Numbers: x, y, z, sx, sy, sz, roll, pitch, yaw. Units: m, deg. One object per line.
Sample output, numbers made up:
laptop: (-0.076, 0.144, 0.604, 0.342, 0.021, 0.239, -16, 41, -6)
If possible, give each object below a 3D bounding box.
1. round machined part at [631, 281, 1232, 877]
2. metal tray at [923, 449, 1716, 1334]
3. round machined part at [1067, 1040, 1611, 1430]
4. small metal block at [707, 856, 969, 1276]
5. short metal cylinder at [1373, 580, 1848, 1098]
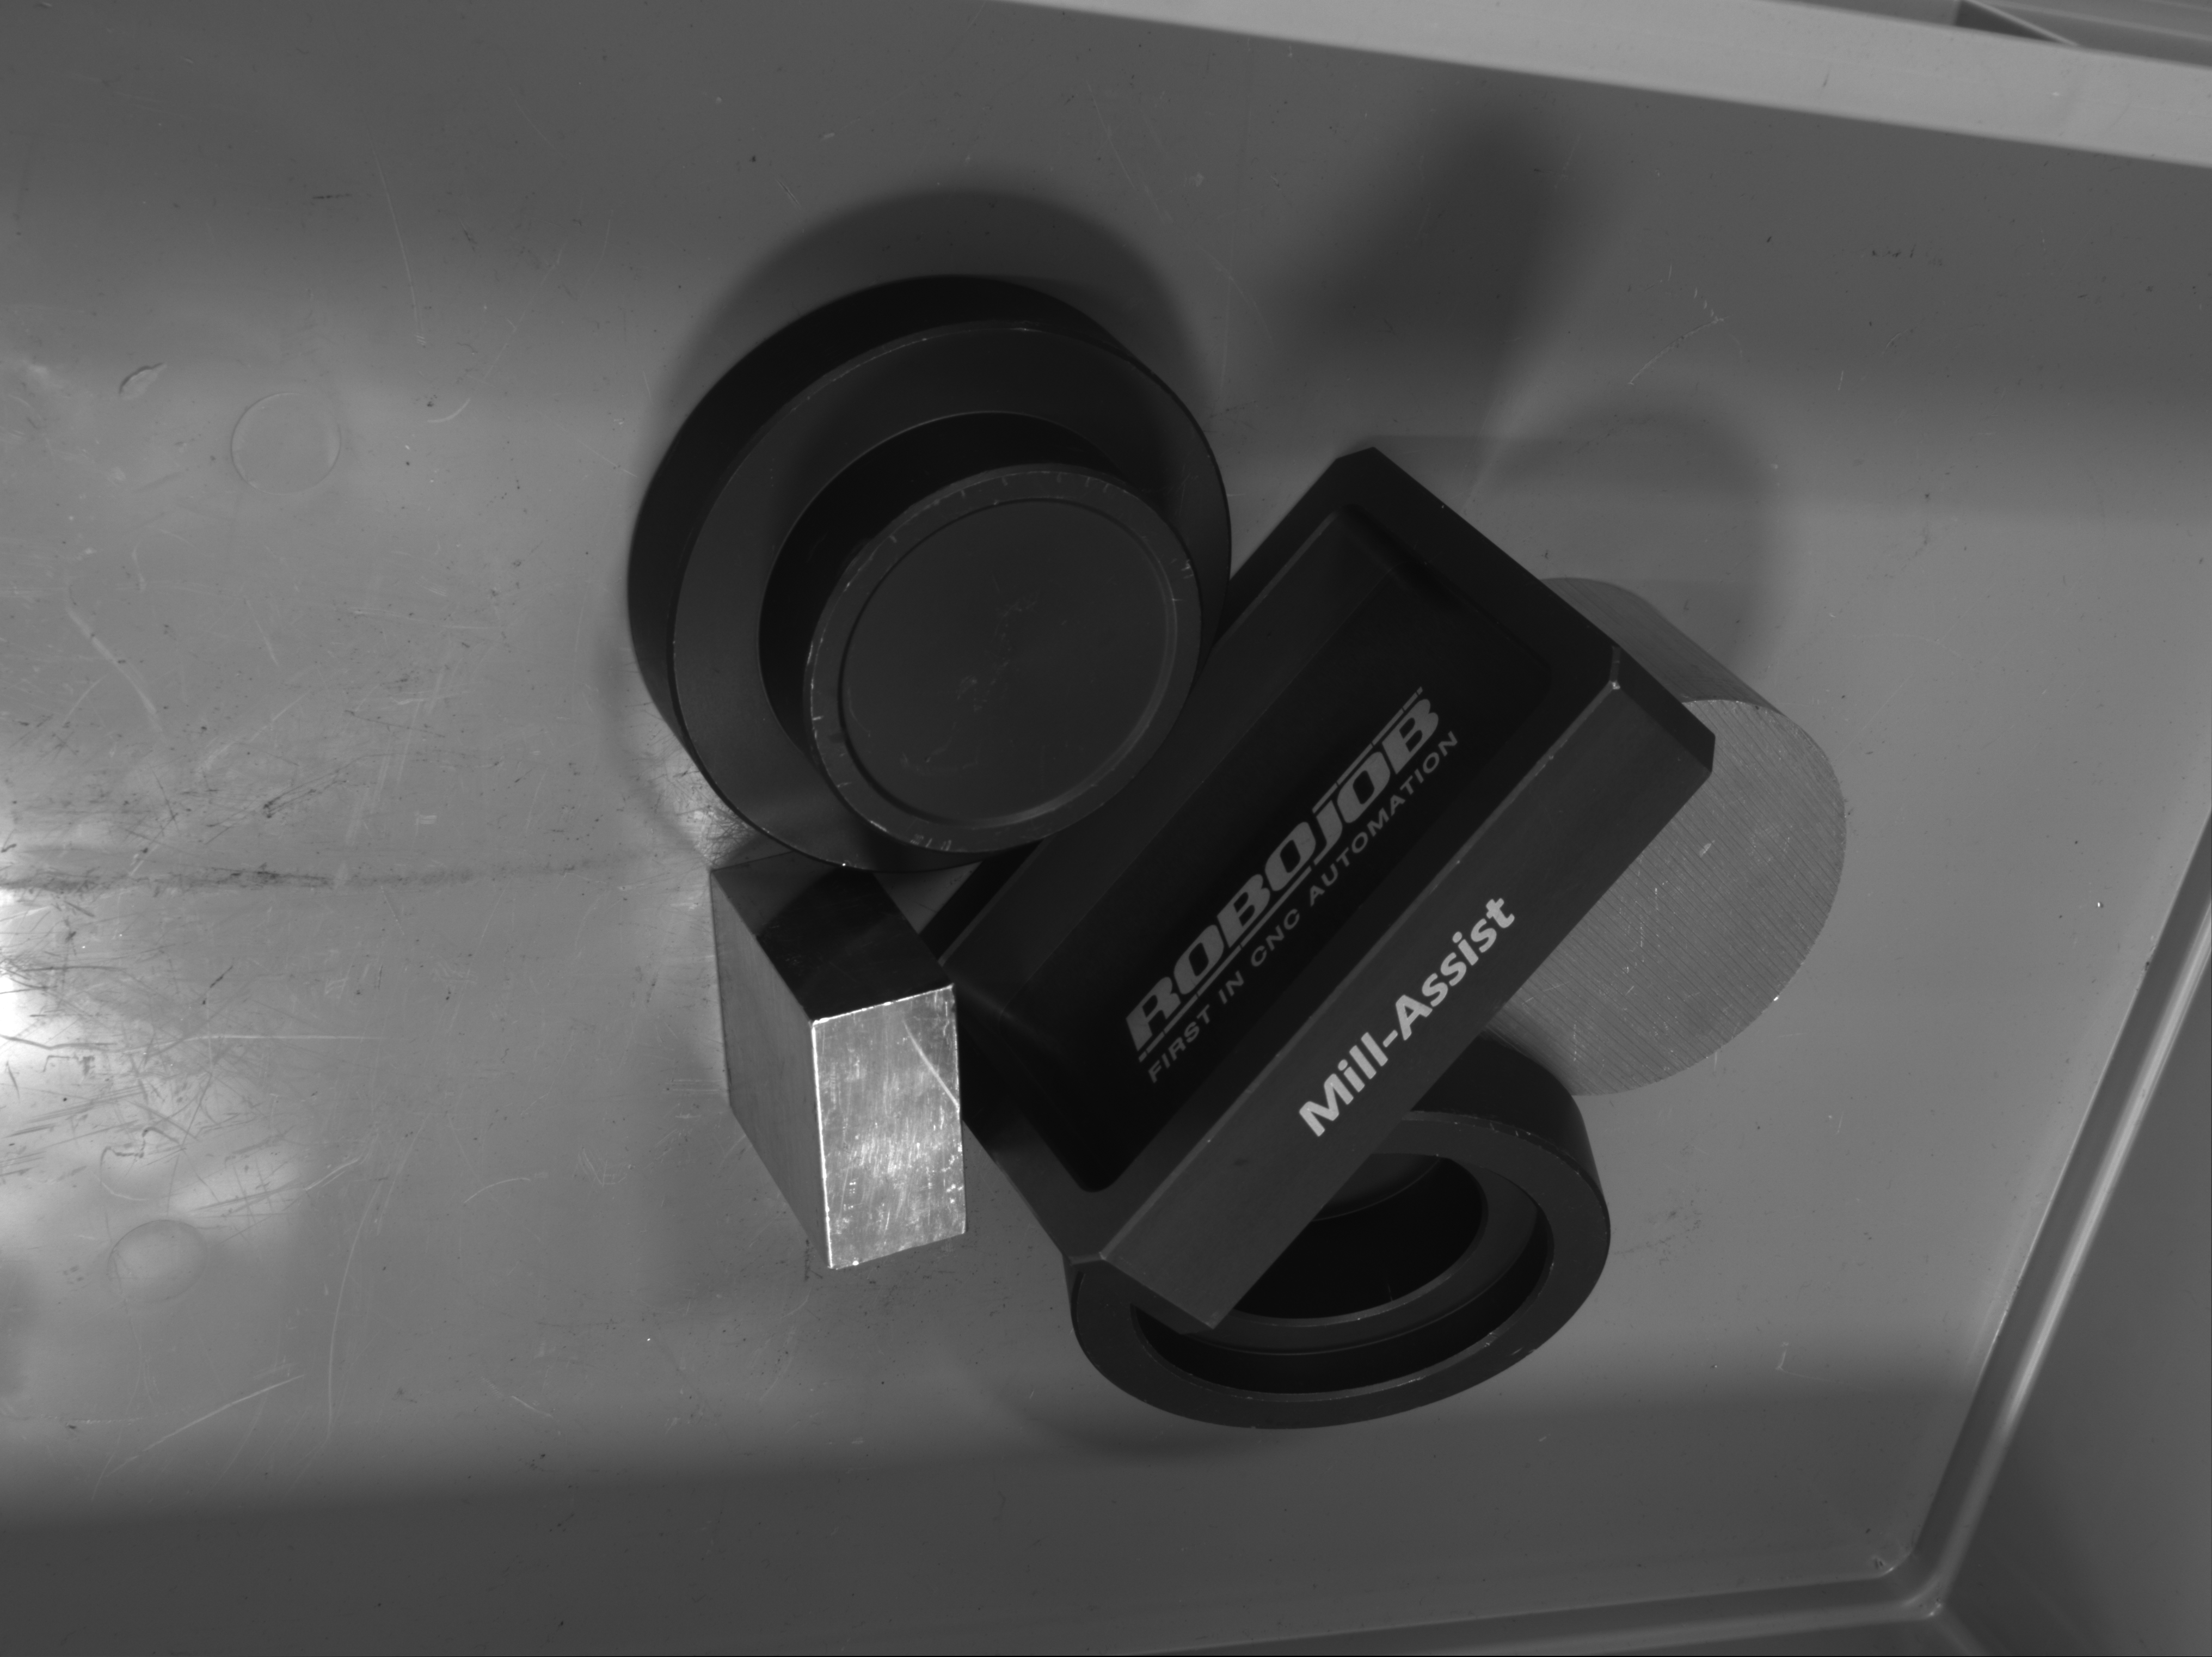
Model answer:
round machined part: (-0.023, -0.035, 0.591, 0.098, 0.042, 0.098, -13, 124, -21)
metal tray: (0.029, 0.009, 0.615, 0.130, 0.090, 0.030, -48, 129, 6)
round machined part: (0.040, 0.066, 0.672, 0.098, 0.042, 0.098, -6, 139, -5)
small metal block: (-0.045, 0.038, 0.618, 0.025, 0.050, 0.050, -14, 124, -20)
short metal cylinder: (0.087, 0.002, 0.667, 0.080, 0.050, 0.080, -13, 124, -21)
